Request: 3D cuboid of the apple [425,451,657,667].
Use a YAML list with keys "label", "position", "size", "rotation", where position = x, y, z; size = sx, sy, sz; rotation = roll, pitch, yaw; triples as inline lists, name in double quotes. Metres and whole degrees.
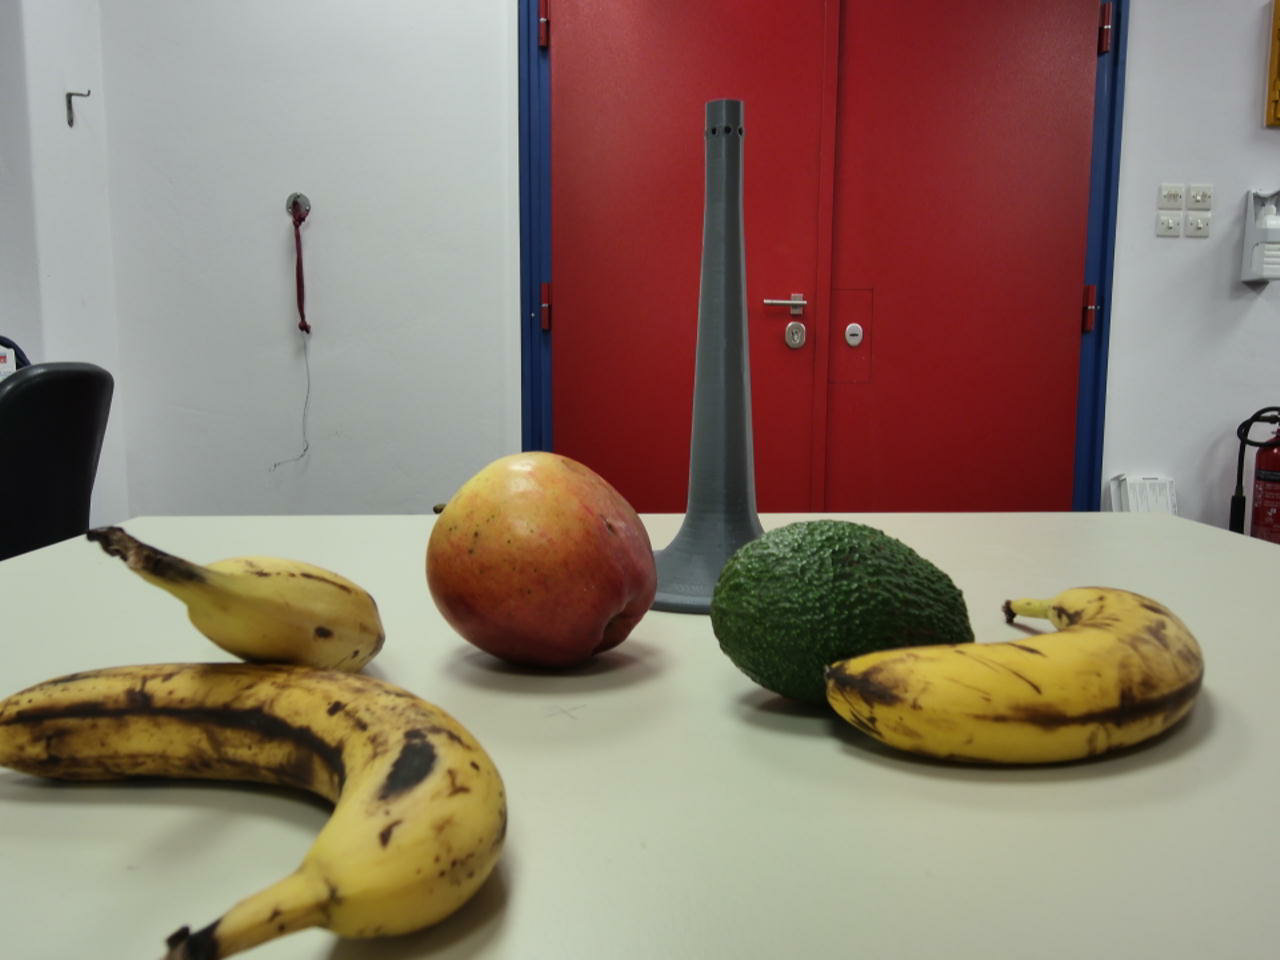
- label: "apple"
  position: [-0.041, 0.032, 0.407]
  size: [0.086, 0.084, 0.093]
  rotation: [-4, 5, -36]
